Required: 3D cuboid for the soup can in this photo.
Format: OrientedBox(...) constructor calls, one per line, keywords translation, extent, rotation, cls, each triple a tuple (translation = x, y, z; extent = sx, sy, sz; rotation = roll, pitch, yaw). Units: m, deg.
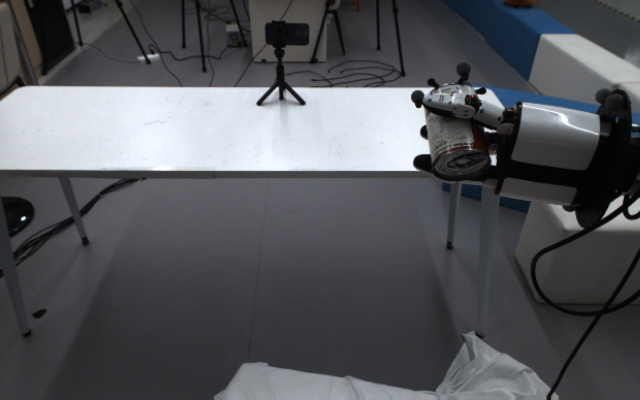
OrientedBox(translation=(0.166, -0.084, 0.593), extent=(0.067, 0.067, 0.101), rotation=(1, 62, -2), cls="soup can")
